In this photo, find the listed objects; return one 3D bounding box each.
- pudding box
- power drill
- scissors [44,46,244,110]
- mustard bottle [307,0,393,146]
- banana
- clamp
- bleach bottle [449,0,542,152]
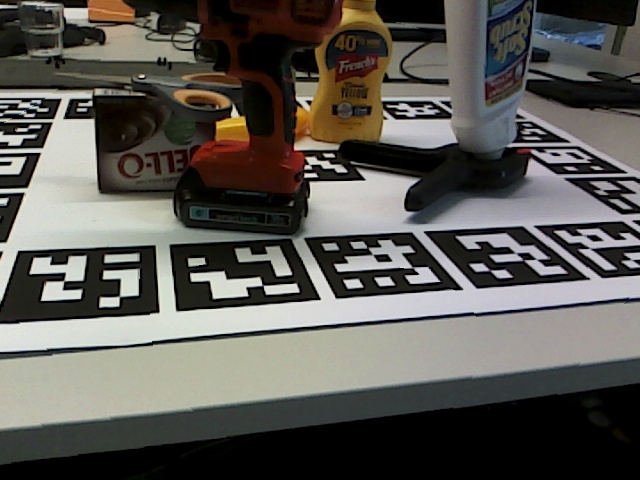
[{"bbox_3d":[-0.162,-0.099,0.607,0.113,0.090,0.039,0,22,-12],"label":"pudding box"},{"bbox_3d":[-0.077,-0.129,0.515,0.184,0.186,0.057,1,21,-2],"label":"power drill"},{"bbox_3d":[-0.167,-0.158,0.581,0.203,0.016,0.088,13,33,5],"label":"scissors"},{"bbox_3d":[0.040,-0.215,0.764,0.096,0.191,0.058,5,27,-3],"label":"mustard bottle"},{"bbox_3d":[-0.073,-0.160,0.779,0.075,0.039,0.196,5,23,37],"label":"banana"},{"bbox_3d":[0.145,-0.093,0.677,0.202,0.036,0.166,-5,32,-22],"label":"clamp"},{"bbox_3d":[0.184,-0.194,0.651,0.102,0.250,0.068,-20,32,-27],"label":"bleach bottle"}]
